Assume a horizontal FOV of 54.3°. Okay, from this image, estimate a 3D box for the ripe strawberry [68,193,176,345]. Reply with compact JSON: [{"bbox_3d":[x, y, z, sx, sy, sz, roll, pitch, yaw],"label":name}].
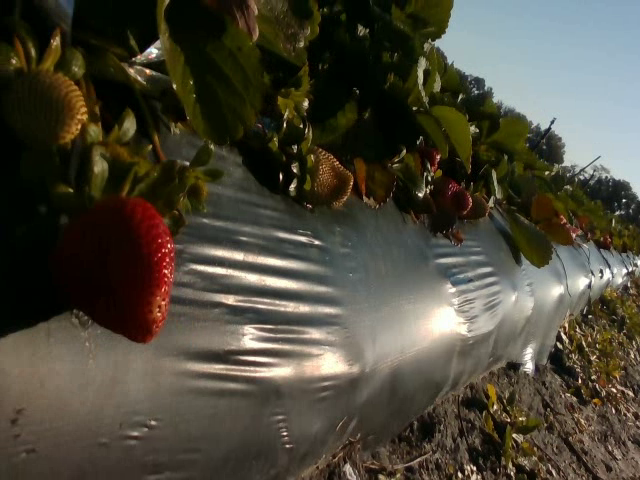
[{"bbox_3d":[-0.061,0.011,0.189,0.042,0.059,0.042,-37,-36,8],"label":"ripe strawberry"}]
